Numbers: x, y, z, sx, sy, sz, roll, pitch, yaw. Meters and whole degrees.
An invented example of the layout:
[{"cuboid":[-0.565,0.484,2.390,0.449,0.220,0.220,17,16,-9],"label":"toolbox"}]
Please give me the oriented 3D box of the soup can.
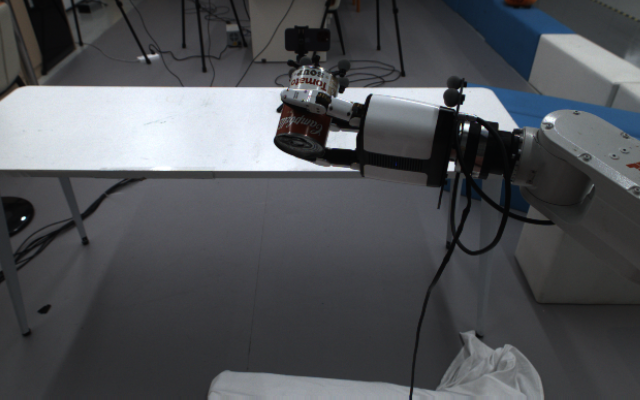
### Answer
[{"cuboid":[-0.016,-0.115,0.633,0.067,0.067,0.101,9,72,10],"label":"soup can"}]
